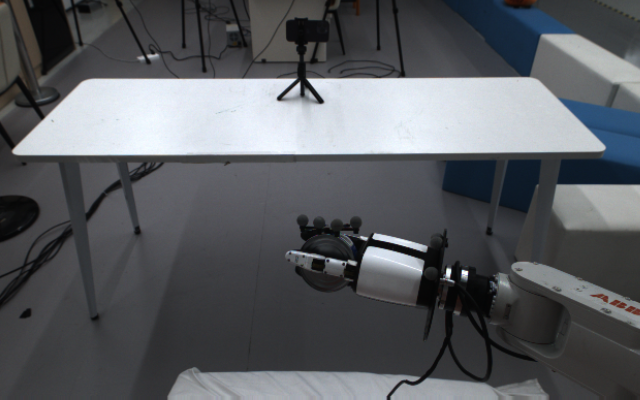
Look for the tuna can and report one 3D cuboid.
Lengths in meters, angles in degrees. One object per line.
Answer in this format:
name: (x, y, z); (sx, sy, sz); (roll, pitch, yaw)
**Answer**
tuna can: (0.015, 0.089, 0.706); (0.085, 0.085, 0.034); (12, 8, 14)
